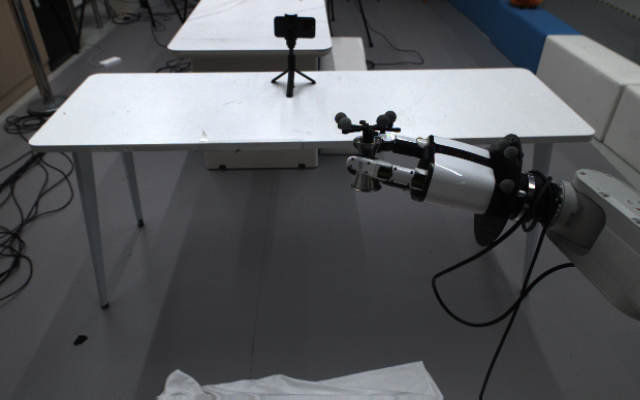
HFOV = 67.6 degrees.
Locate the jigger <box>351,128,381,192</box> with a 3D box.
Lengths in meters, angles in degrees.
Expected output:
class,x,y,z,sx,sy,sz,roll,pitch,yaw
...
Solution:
class,x,y,z,sx,sy,sz,roll,pitch,yaw
jigger,0.065,-0.050,0.675,0.043,0.071,0.043,0,21,0
